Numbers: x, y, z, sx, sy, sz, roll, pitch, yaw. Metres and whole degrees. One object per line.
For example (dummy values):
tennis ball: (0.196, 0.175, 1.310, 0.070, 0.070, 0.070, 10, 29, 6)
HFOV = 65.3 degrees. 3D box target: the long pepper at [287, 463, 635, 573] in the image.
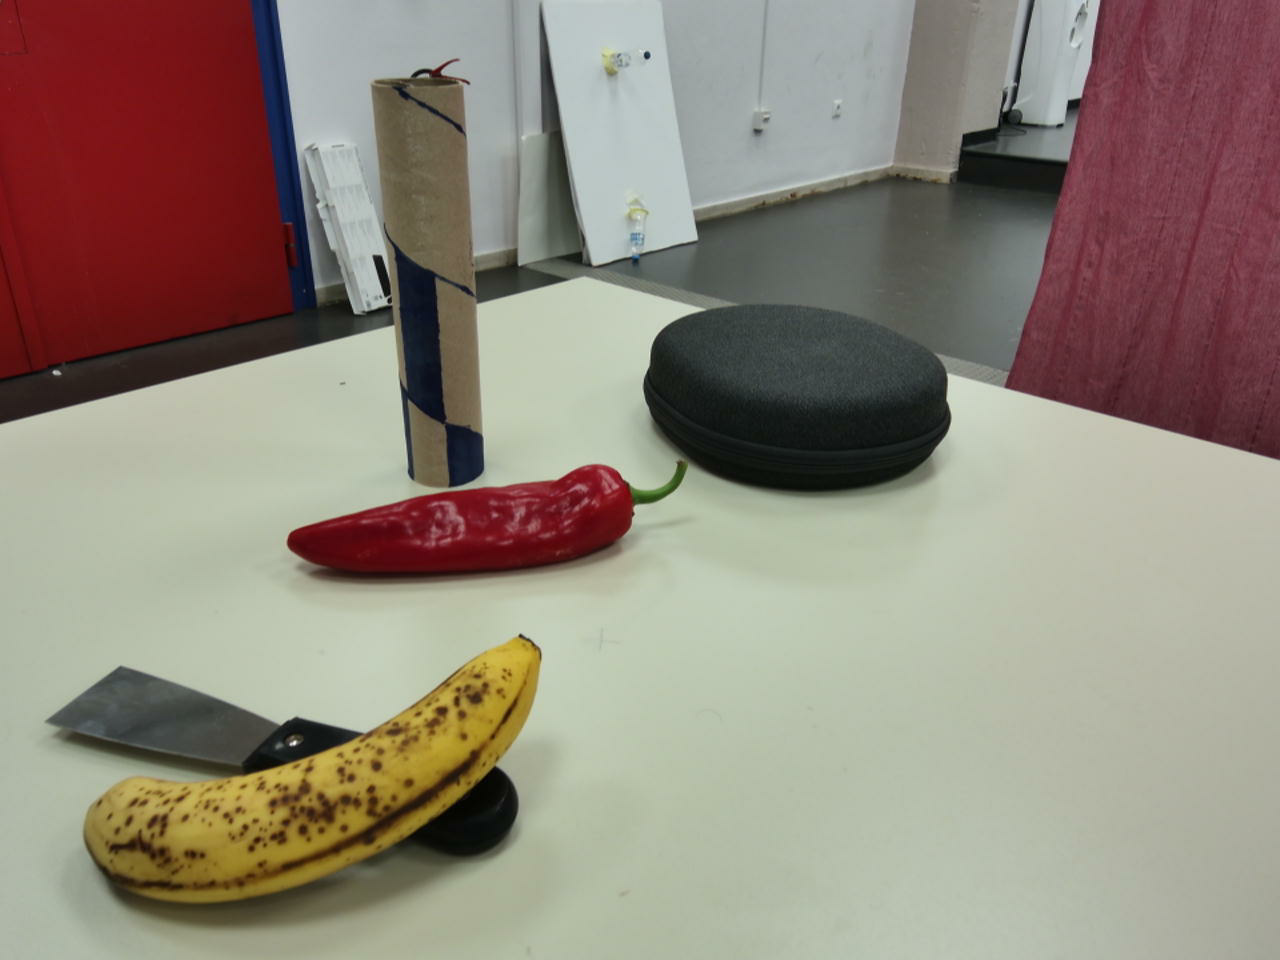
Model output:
long pepper: (-0.076, 0.022, 0.522, 0.211, 0.043, 0.050, -7, 25, -16)
